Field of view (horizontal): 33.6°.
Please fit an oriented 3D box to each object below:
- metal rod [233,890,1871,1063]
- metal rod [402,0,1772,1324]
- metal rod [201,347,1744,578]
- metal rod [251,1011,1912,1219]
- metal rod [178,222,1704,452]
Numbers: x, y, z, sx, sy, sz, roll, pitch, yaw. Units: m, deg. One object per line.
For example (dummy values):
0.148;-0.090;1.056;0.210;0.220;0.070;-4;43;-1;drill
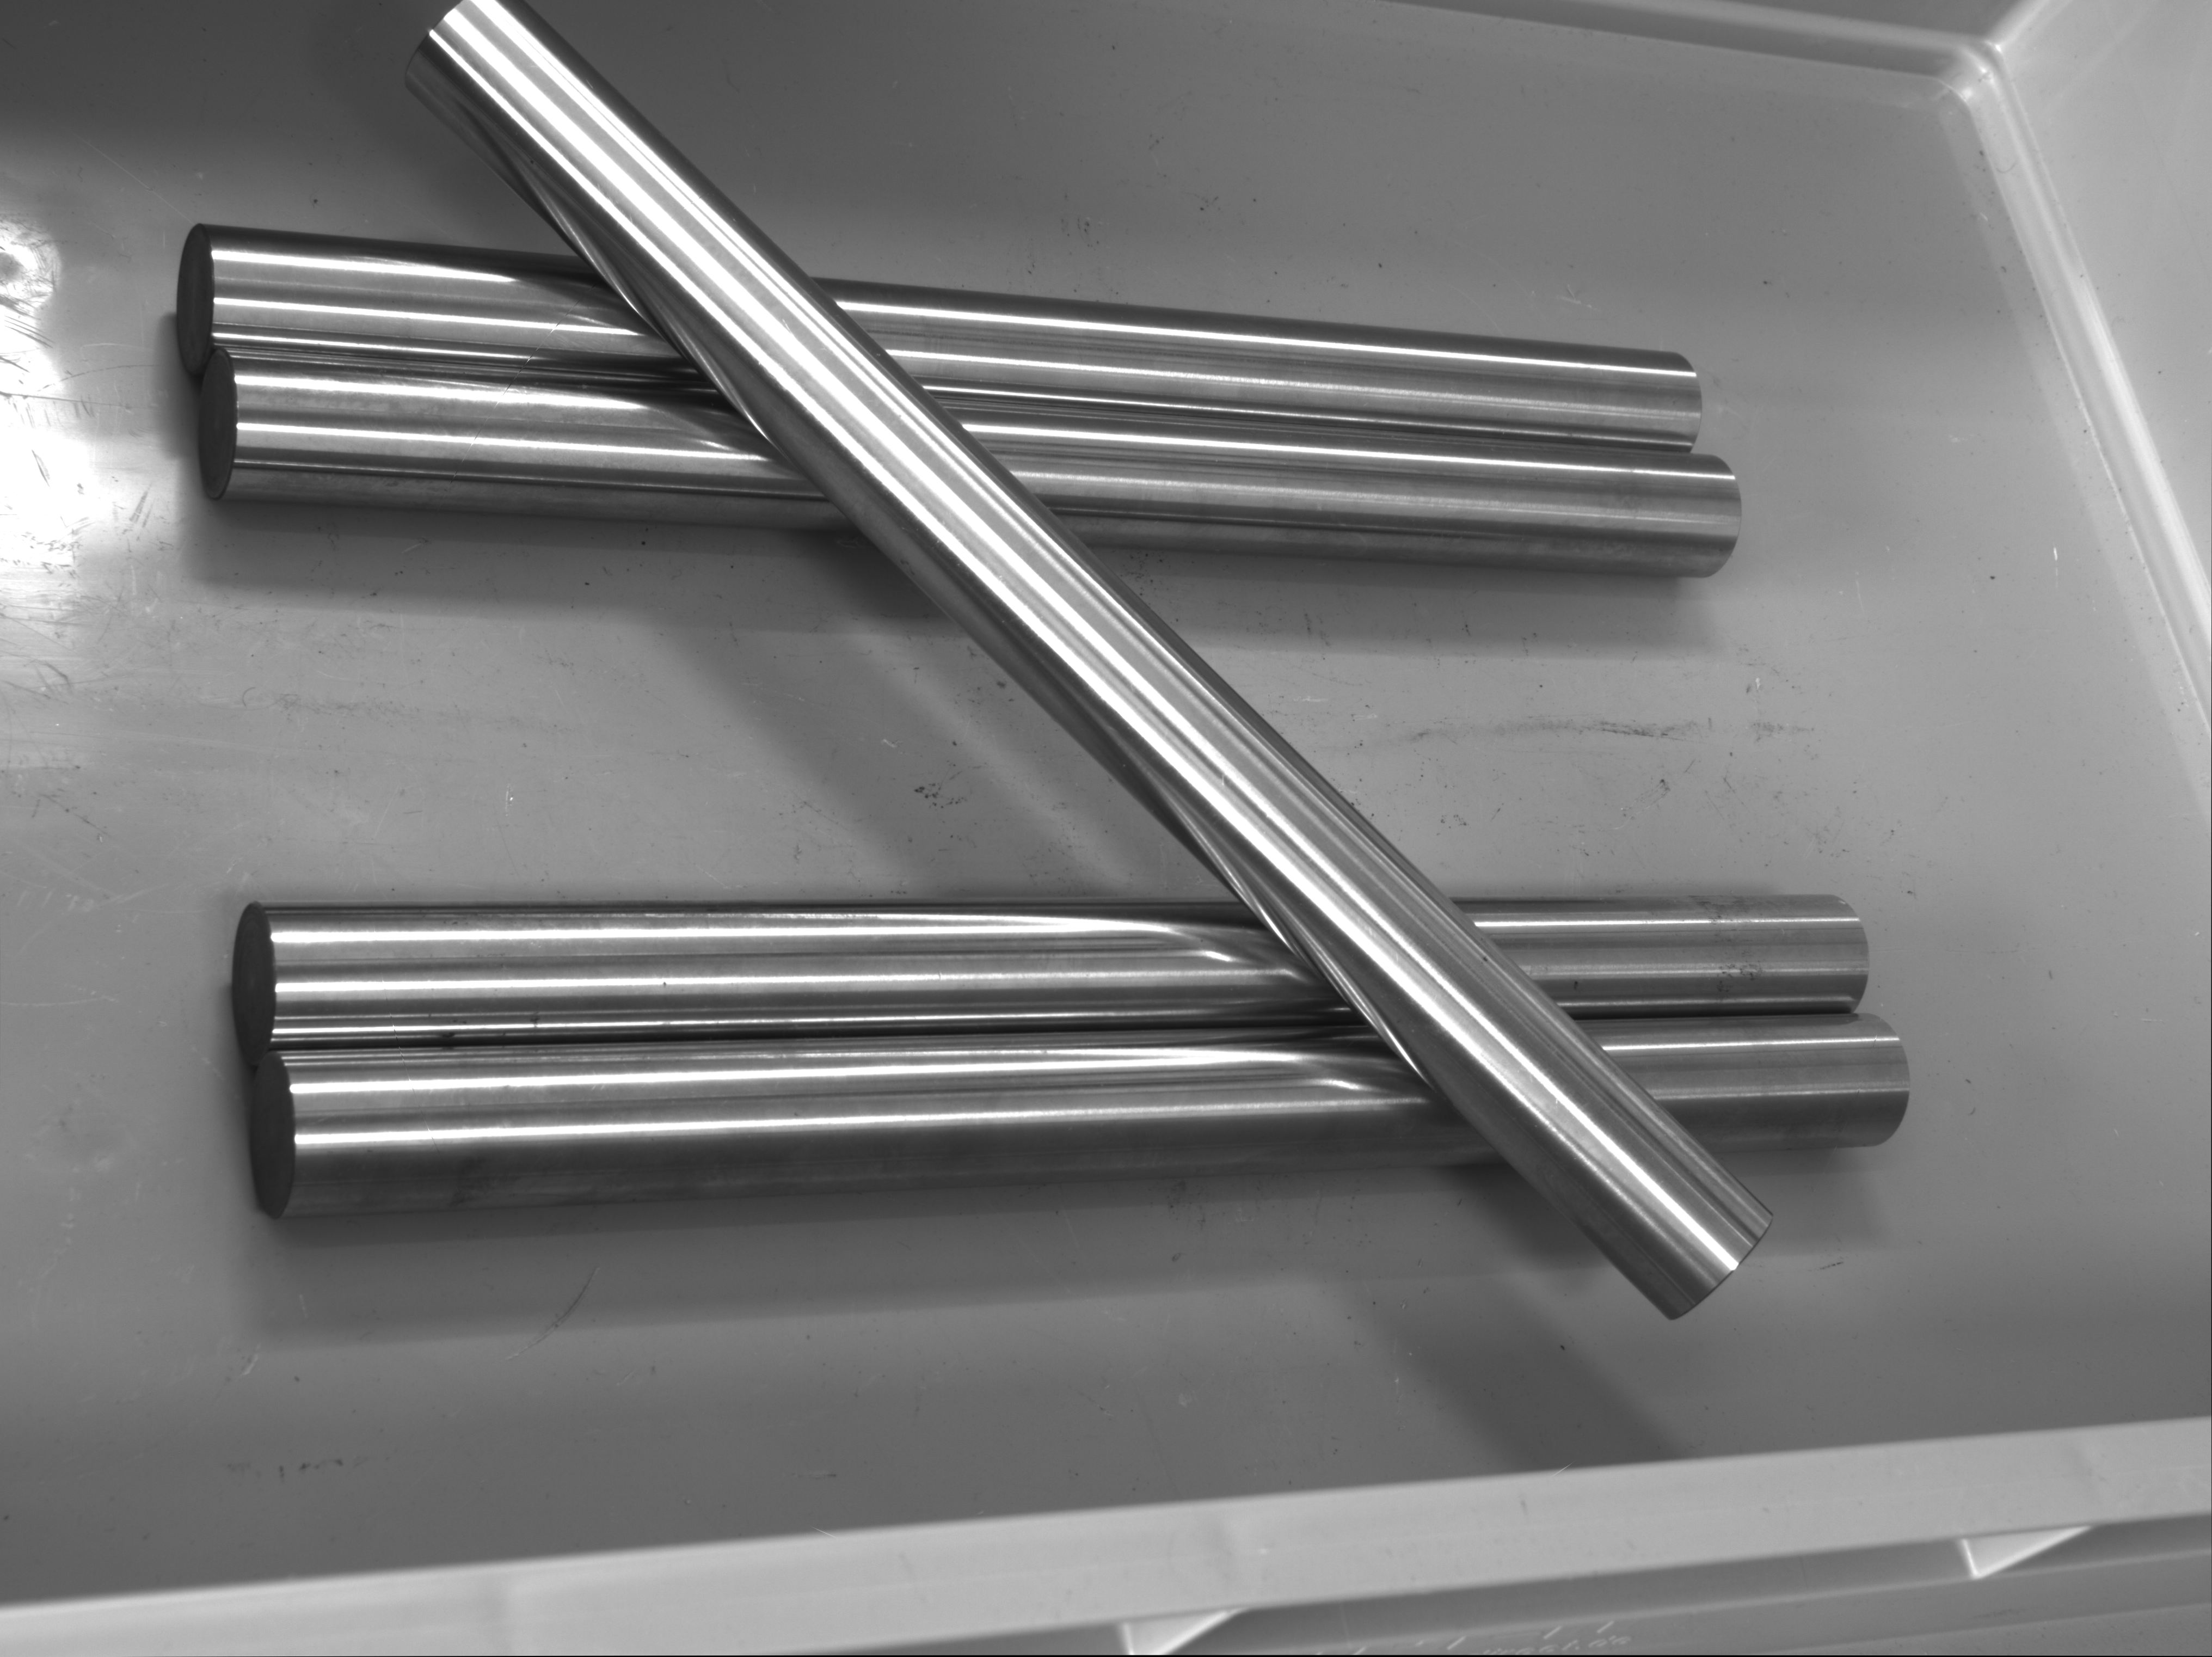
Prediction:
0.004;0.023;0.625;0.301;0.025;0.025;0;61;-28;metal rod
-0.004;-0.031;0.622;0.300;0.025;0.025;44;51;3;metal rod
-0.012;-0.064;0.670;0.301;0.025;0.025;1;61;-28;metal rod
0.009;0.046;0.614;0.301;0.025;0.025;0;61;-28;metal rod
-0.018;-0.086;0.680;0.301;0.025;0.025;1;61;-28;metal rod
